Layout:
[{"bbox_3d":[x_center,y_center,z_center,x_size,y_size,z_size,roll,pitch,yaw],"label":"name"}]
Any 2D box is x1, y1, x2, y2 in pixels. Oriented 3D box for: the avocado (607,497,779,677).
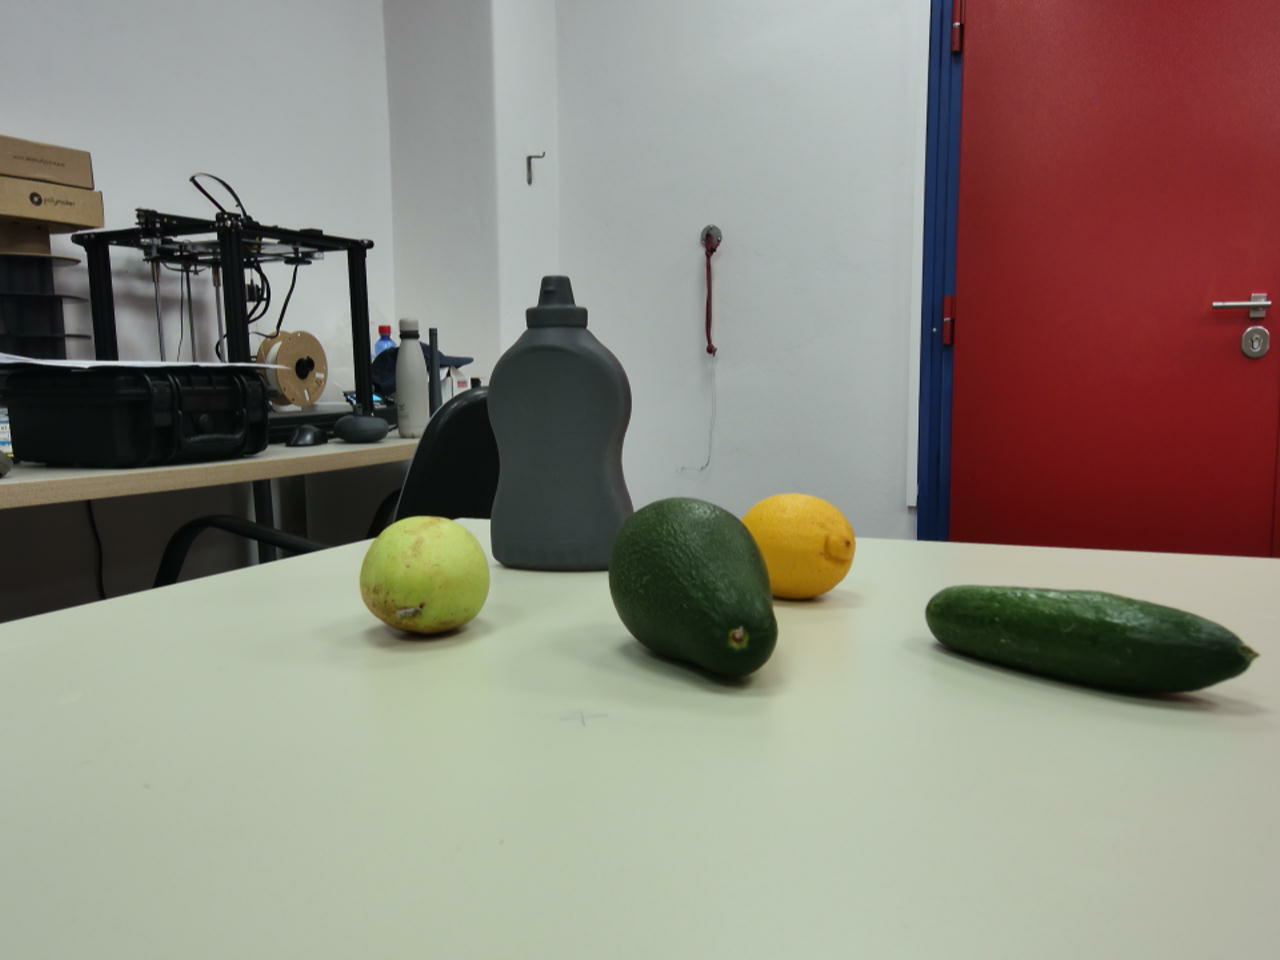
[{"bbox_3d":[0.021,0.045,0.440,0.072,0.071,0.109,1,3,2],"label":"avocado"}]
